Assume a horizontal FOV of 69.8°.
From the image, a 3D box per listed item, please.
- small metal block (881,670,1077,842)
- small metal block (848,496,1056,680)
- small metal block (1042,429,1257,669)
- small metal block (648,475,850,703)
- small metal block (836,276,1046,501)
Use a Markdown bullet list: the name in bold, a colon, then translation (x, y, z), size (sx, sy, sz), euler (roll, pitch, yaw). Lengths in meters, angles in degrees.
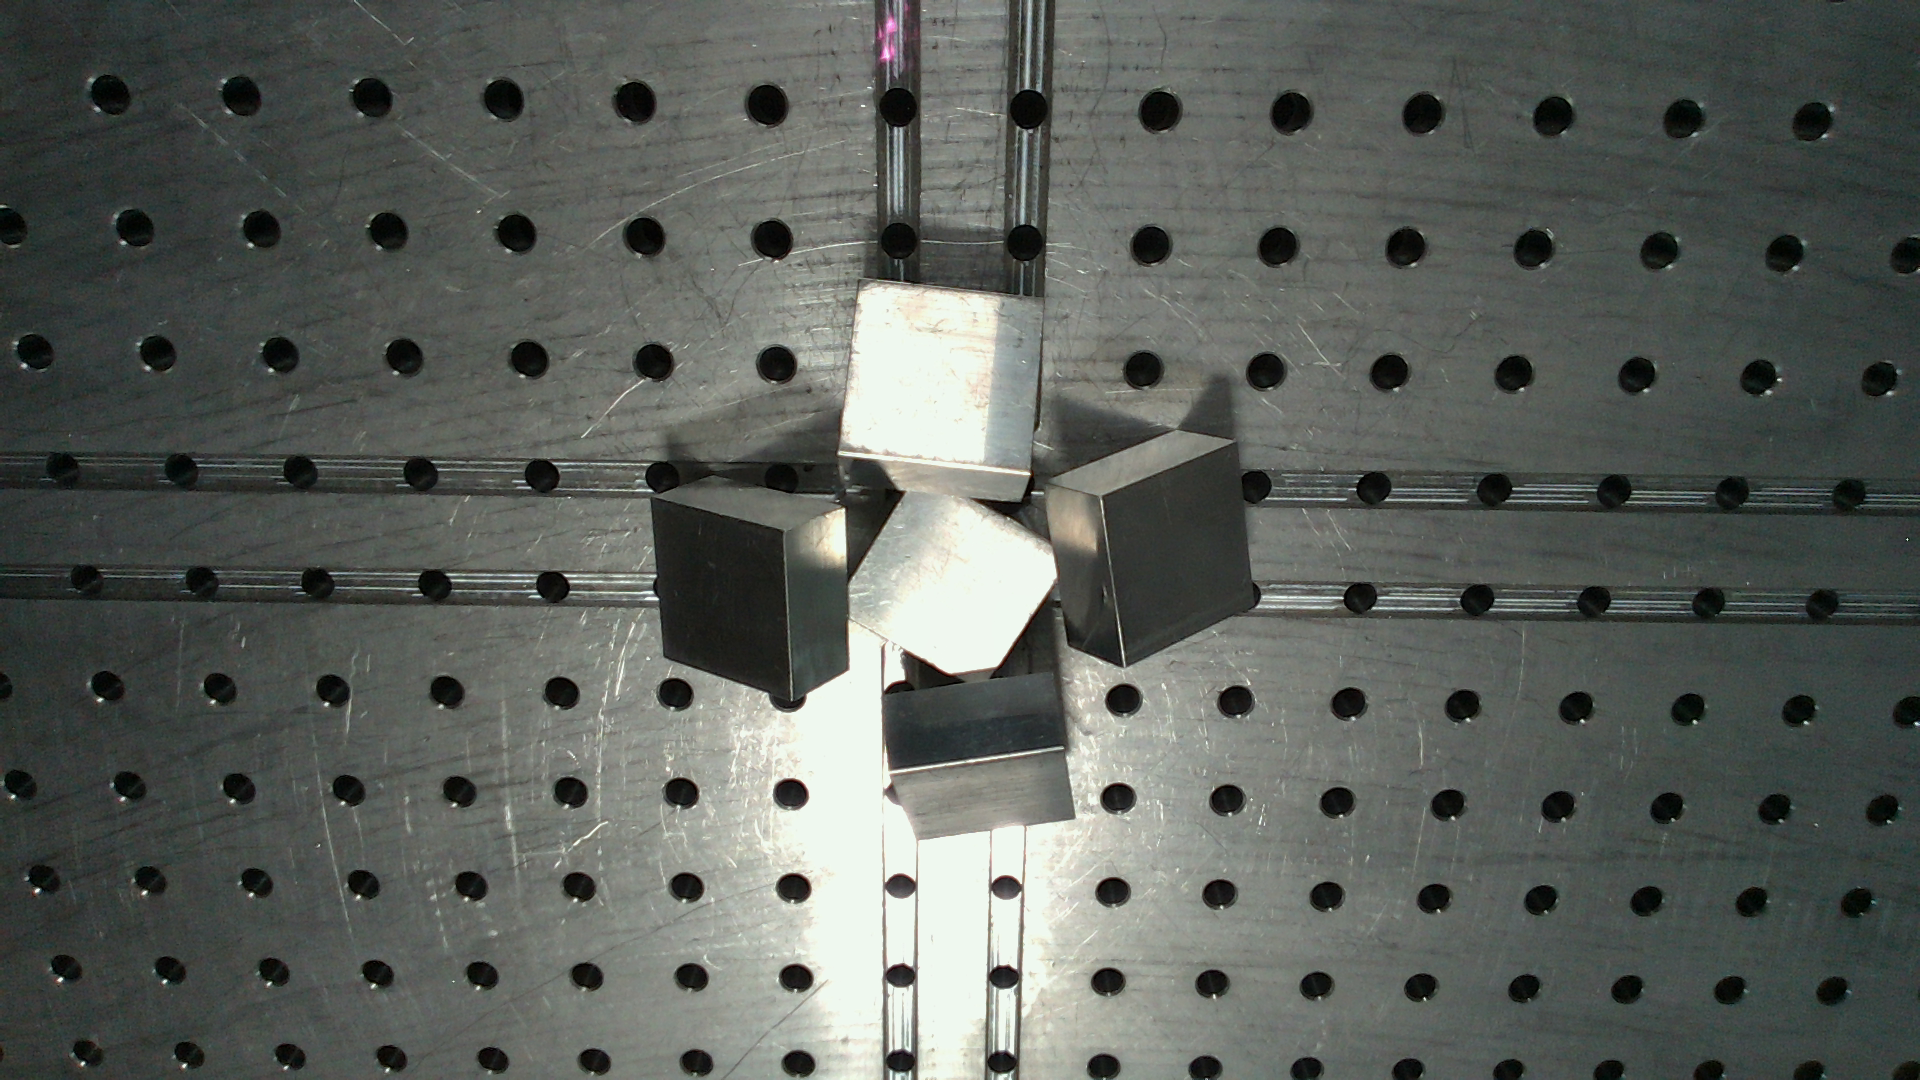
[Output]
- **small metal block**: translation (0.006, 0.065, 0.407), size (0.050, 0.025, 0.050), euler (-9, 146, 3)
- **small metal block**: translation (-0.002, 0.008, 0.399), size (0.050, 0.025, 0.050), euler (30, 107, -10)
- **small metal block**: translation (0.054, 0.001, 0.384), size (0.050, 0.025, 0.050), euler (-22, 113, -30)
- **small metal block**: translation (-0.059, 0.012, 0.388), size (0.050, 0.025, 0.050), euler (13, 114, 32)
- **small metal block**: translation (-0.005, -0.040, 0.368), size (0.050, 0.025, 0.050), euler (6, 74, -2)
